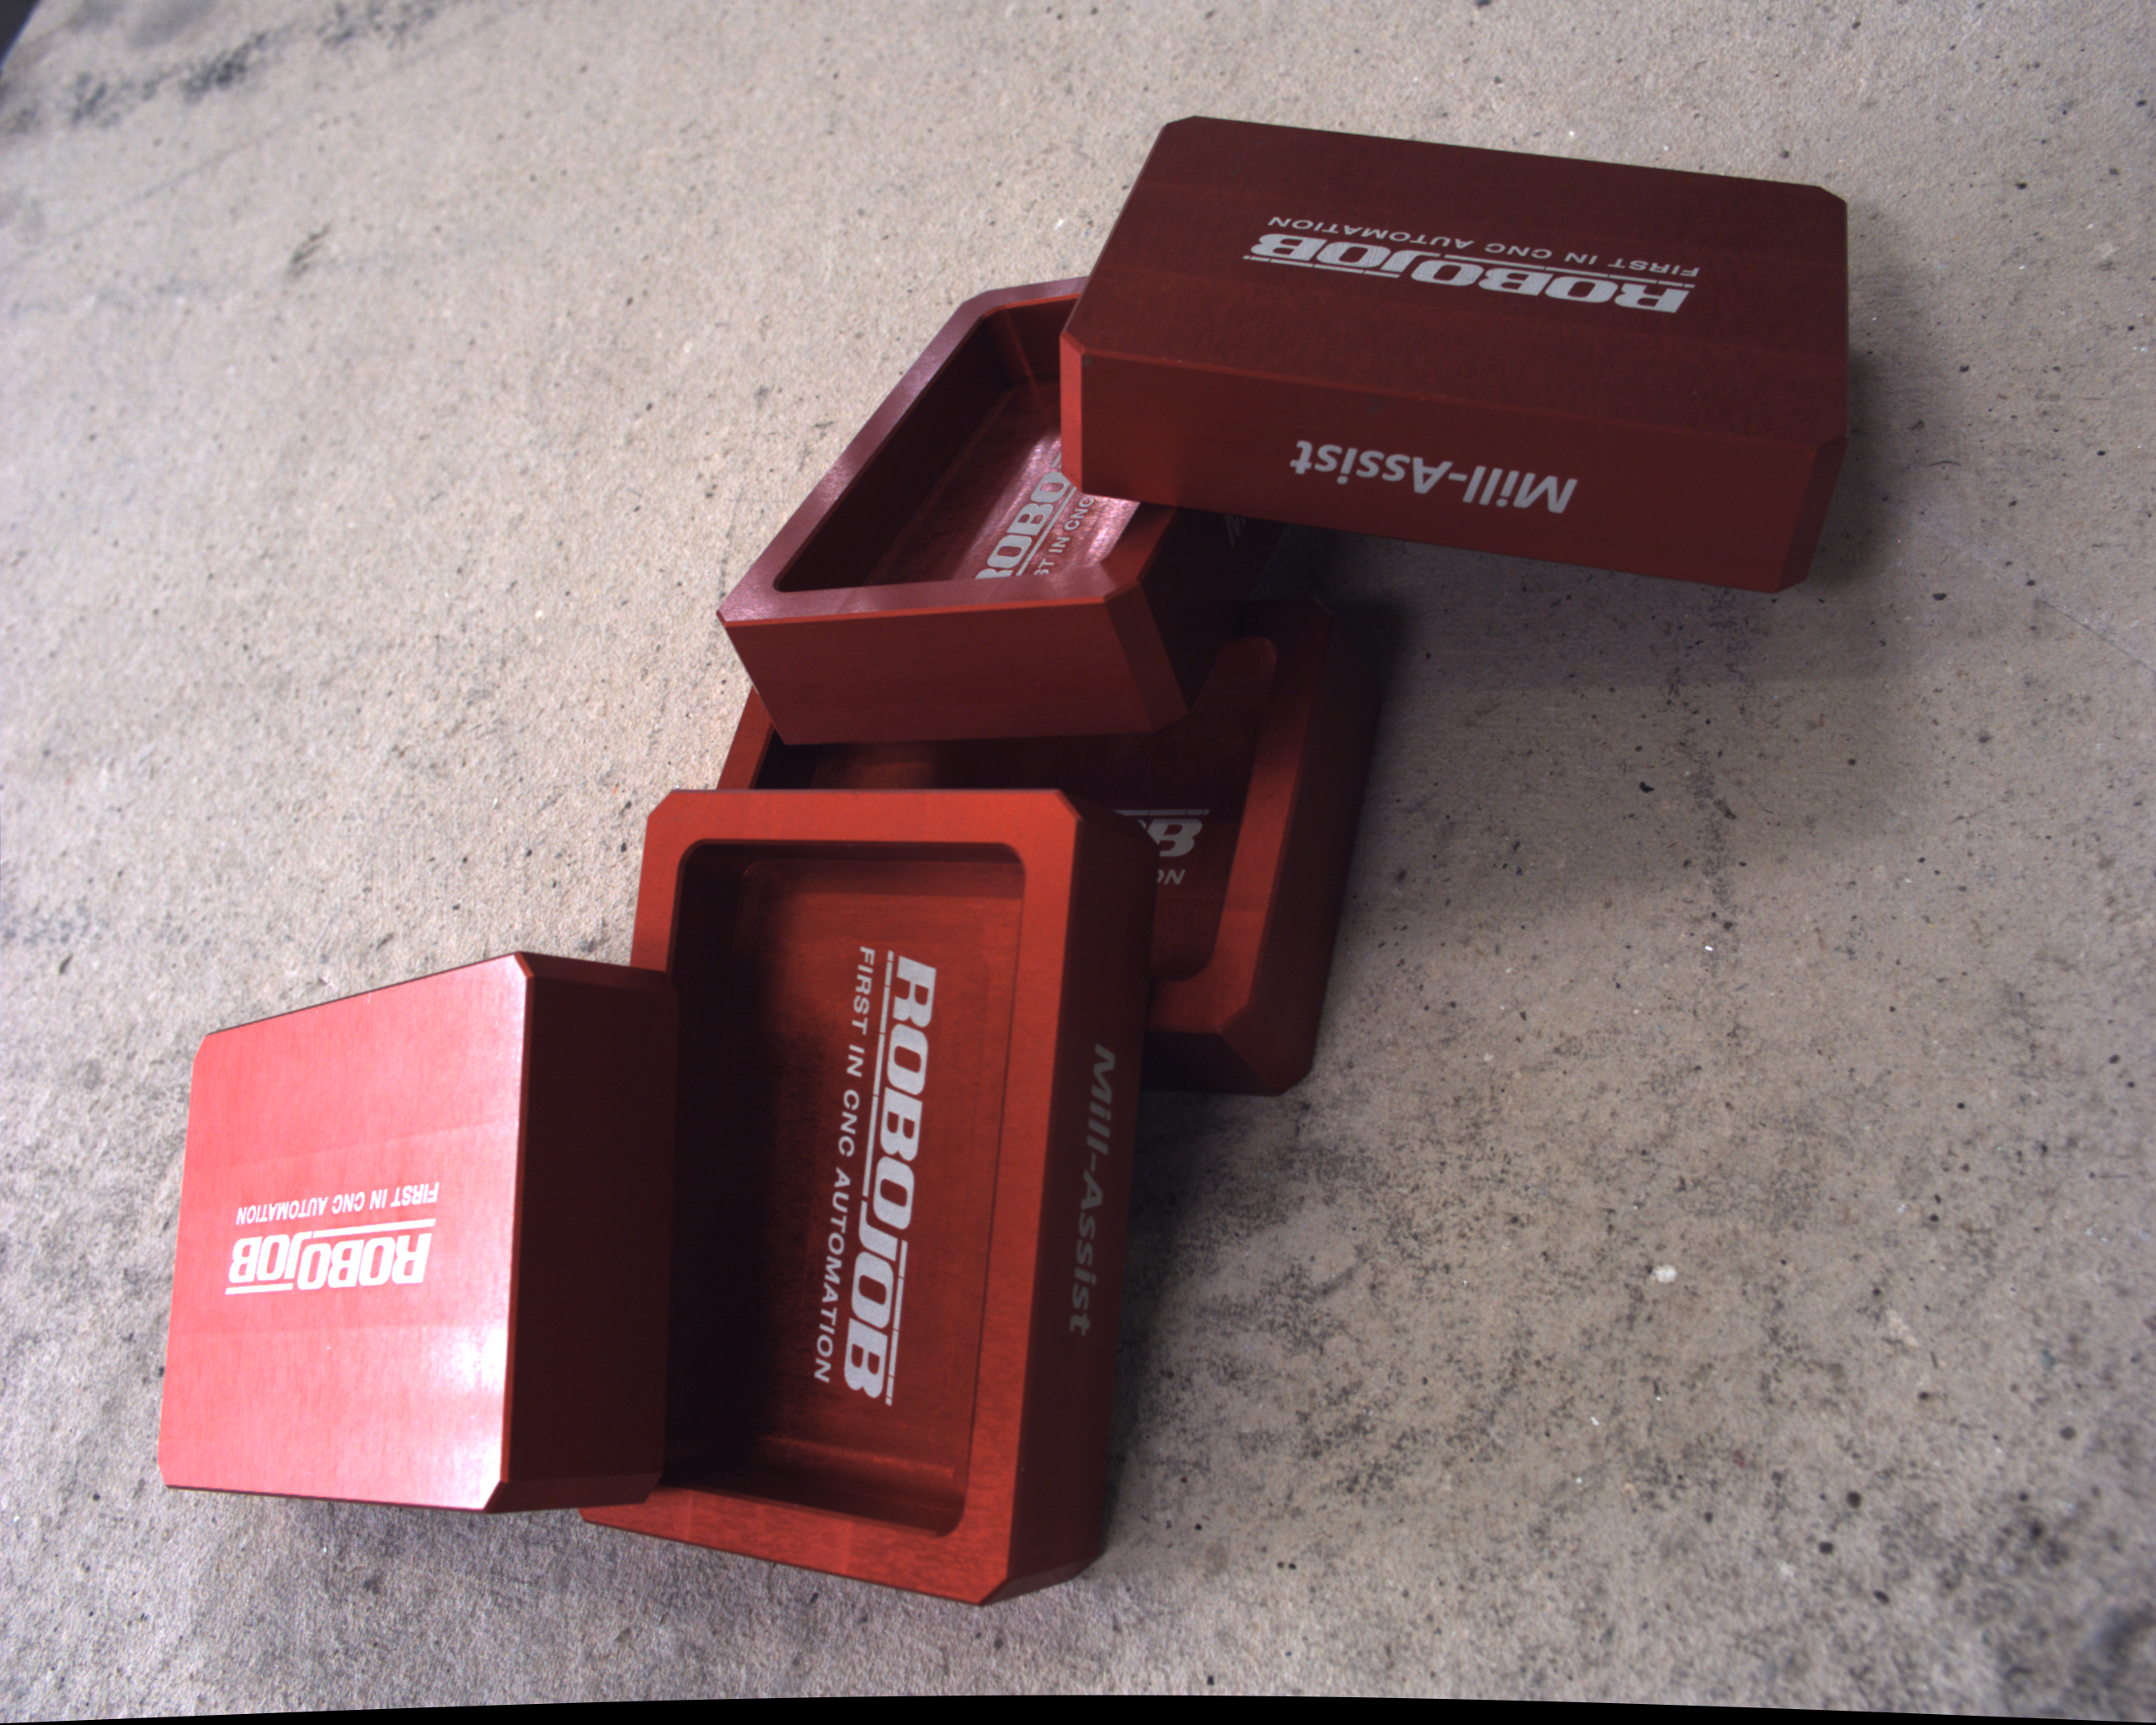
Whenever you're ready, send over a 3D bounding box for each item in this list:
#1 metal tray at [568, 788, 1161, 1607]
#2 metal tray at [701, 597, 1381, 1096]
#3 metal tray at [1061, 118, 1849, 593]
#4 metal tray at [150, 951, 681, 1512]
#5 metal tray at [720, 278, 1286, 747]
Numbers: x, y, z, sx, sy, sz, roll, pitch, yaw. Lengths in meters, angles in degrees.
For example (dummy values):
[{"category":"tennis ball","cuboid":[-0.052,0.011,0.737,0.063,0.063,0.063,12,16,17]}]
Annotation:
[{"category":"metal tray","cuboid":[-0.038,0.053,0.363,0.090,0.030,0.129,1,81,29]},{"category":"metal tray","cuboid":[-0.013,-0.004,0.412,0.130,0.030,0.090,0,62,28]},{"category":"metal tray","cuboid":[0.070,-0.097,0.383,0.131,0.030,0.090,10,46,10]},{"category":"metal tray","cuboid":[-0.126,0.071,0.387,0.130,0.030,0.090,-13,71,42]},{"category":"metal tray","cuboid":[-0.003,-0.077,0.425,0.090,0.030,0.130,0,42,28]}]
